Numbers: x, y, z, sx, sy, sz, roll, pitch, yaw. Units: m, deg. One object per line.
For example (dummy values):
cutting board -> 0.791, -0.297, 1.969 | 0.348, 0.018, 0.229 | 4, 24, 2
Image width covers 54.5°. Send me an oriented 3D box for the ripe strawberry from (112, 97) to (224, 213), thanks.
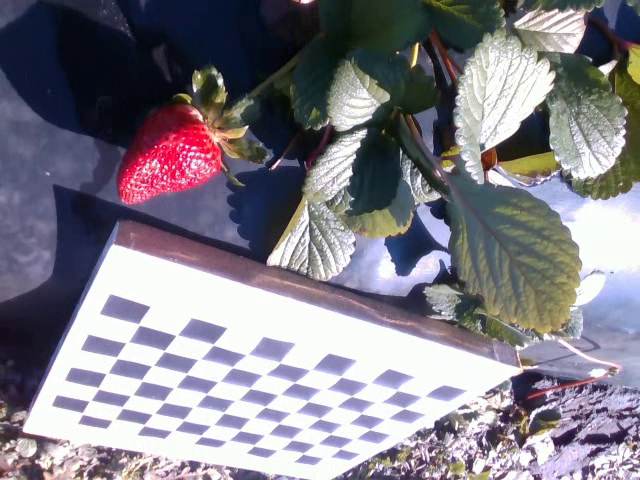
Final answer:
ripe strawberry -> -0.075, -0.038, 0.295 | 0.058, 0.062, 0.066 | 13, -29, 29
